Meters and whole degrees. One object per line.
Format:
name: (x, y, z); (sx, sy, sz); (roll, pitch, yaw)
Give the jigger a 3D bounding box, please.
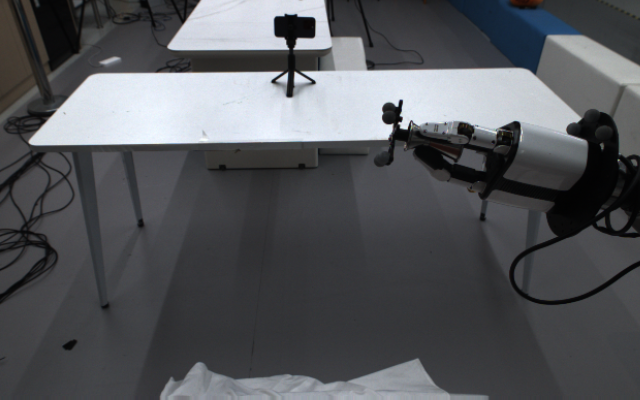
jigger: (0.151, -0.078, 0.616); (0.071, 0.043, 0.043); (11, 35, 2)
